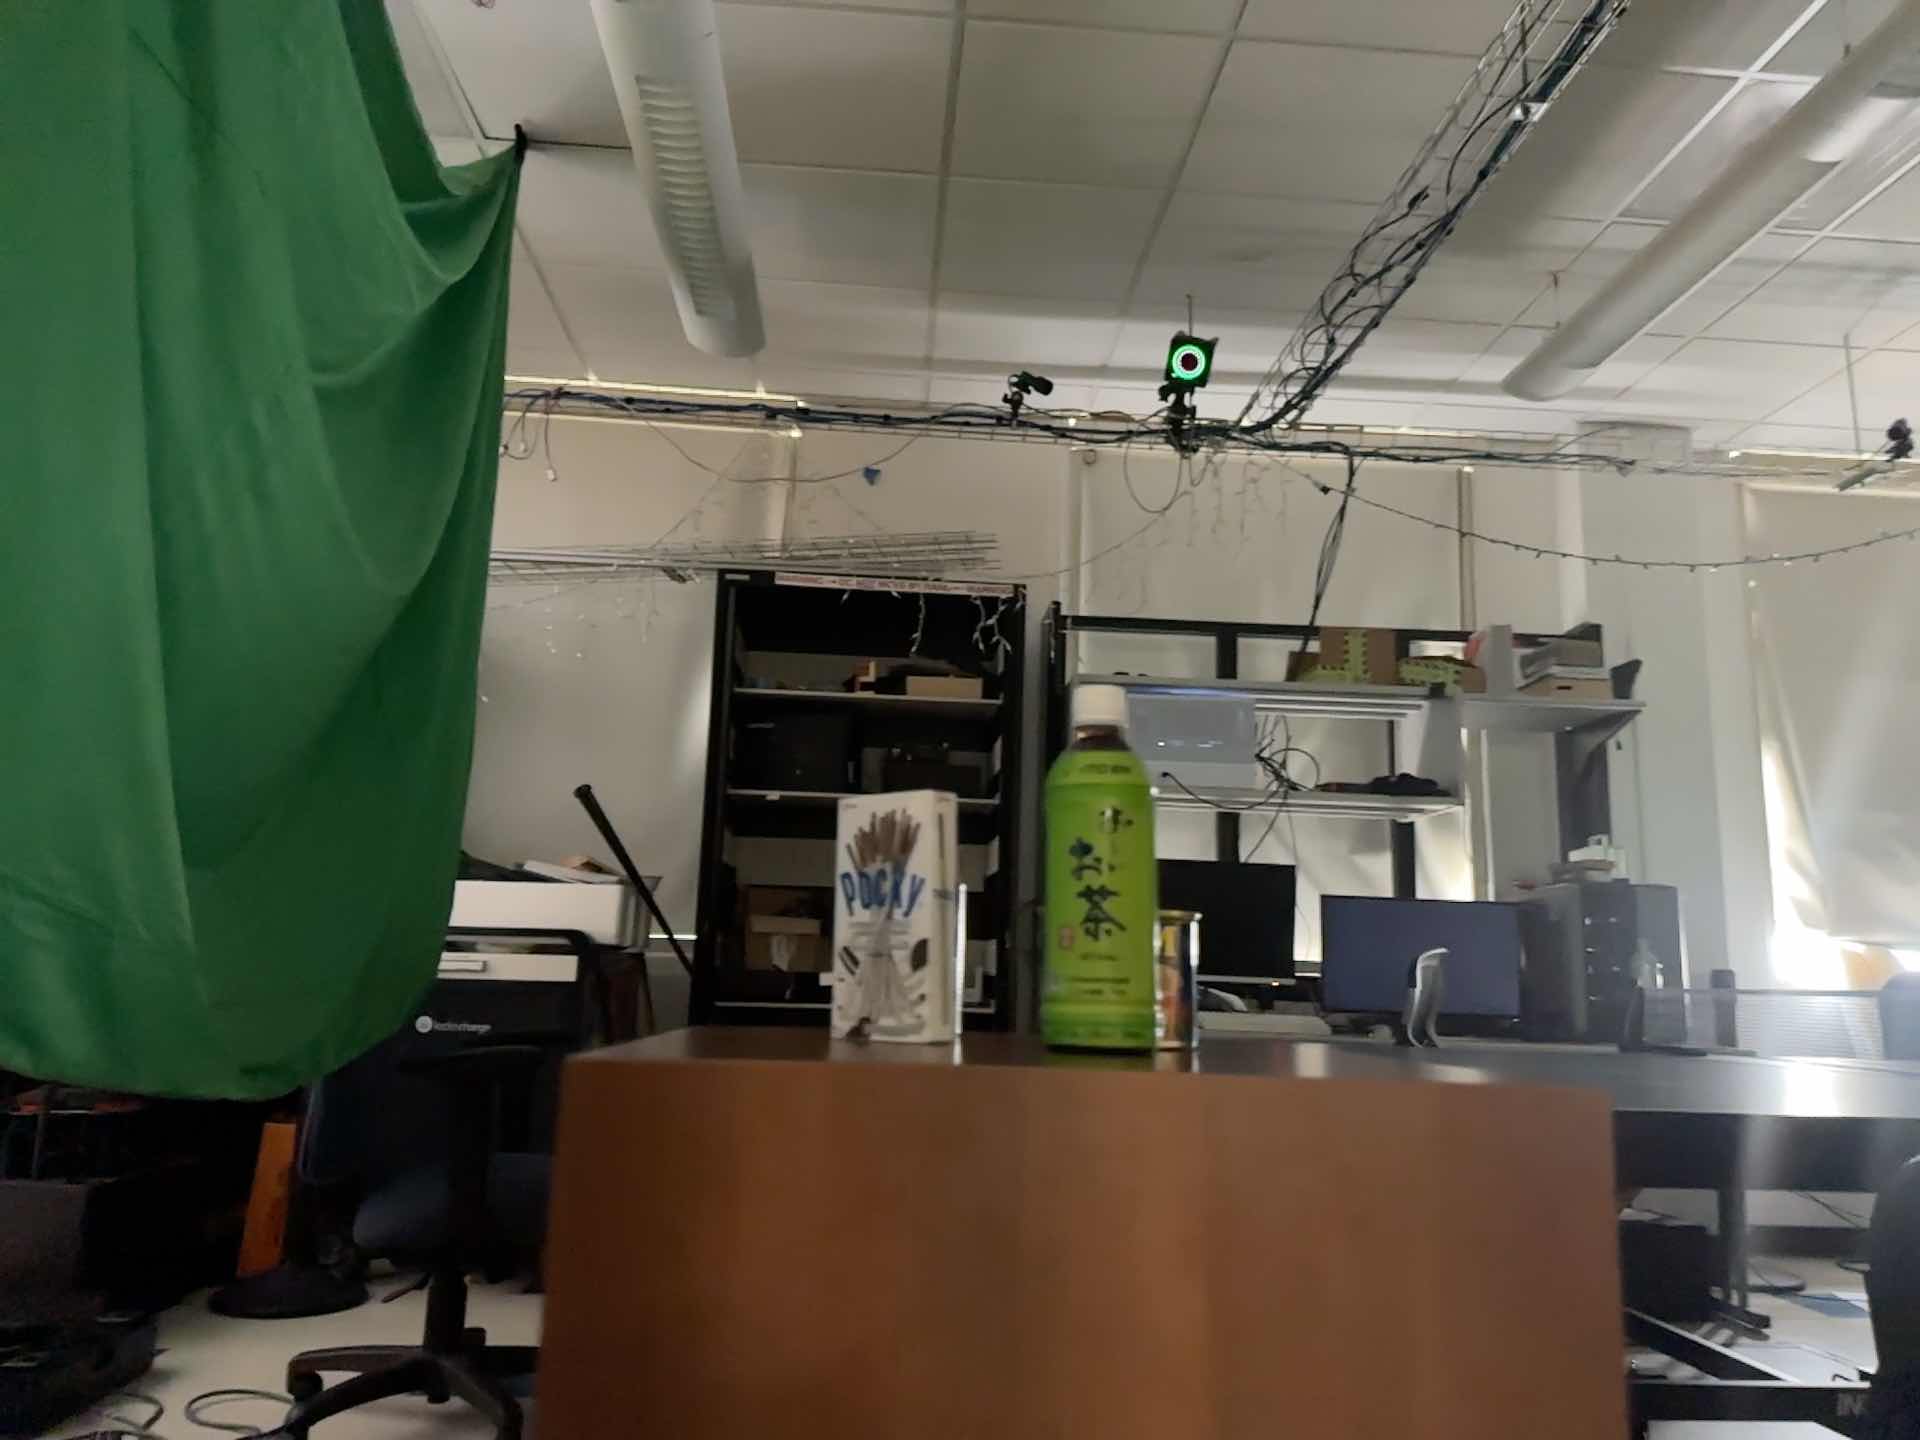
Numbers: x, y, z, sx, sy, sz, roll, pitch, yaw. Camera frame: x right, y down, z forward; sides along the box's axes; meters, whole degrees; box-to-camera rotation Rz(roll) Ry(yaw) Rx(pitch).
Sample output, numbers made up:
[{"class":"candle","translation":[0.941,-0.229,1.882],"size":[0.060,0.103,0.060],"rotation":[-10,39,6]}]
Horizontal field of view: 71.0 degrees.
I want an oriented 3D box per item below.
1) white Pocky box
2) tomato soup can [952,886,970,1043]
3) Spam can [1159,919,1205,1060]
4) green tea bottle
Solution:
[{"class":"white Pocky box","translation":[-0.042,0.124,0.819],"size":[0.084,0.154,0.028],"rotation":[-6,-12,39]},{"class":"tomato soup can","translation":[-0.030,0.161,0.897],"size":[0.067,0.102,0.067],"rotation":[3,-10,1]},{"class":"Spam can","translation":[0.102,0.168,0.847],"size":[0.100,0.083,0.056],"rotation":[0,-10,12]},{"class":"green tea bottle","translation":[0.078,0.086,0.766],"size":[0.073,0.212,0.073],"rotation":[-2,-9,0]}]
